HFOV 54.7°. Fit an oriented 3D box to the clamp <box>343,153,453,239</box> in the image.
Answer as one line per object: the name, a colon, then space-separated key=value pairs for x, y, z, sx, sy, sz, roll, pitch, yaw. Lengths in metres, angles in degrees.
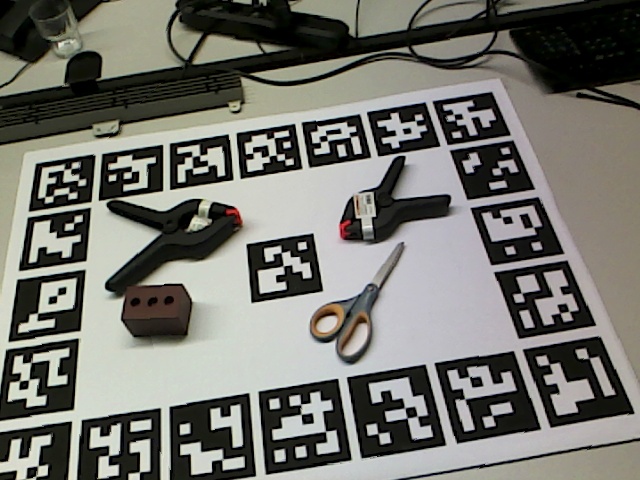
clamp: x=0.102 y=-0.053 z=0.936 sx=0.165 sy=0.036 sz=0.122 roll=-33 pitch=66 yaw=-14

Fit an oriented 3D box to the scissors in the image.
scissors: x=0.059 y=0.078 z=0.857 sx=0.088 sy=0.016 sz=0.202 roll=29 pitch=62 yaw=14

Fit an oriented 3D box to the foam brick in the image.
foam brick: x=-0.222 y=0.098 z=0.859 sx=0.078 sy=0.051 sz=0.053 roll=-4 pitch=58 yaw=9

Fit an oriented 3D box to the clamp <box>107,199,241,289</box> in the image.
clamp: x=-0.221 y=-0.014 z=0.940 sx=0.202 sy=0.036 sz=0.166 roll=-12 pitch=53 yaw=-3
